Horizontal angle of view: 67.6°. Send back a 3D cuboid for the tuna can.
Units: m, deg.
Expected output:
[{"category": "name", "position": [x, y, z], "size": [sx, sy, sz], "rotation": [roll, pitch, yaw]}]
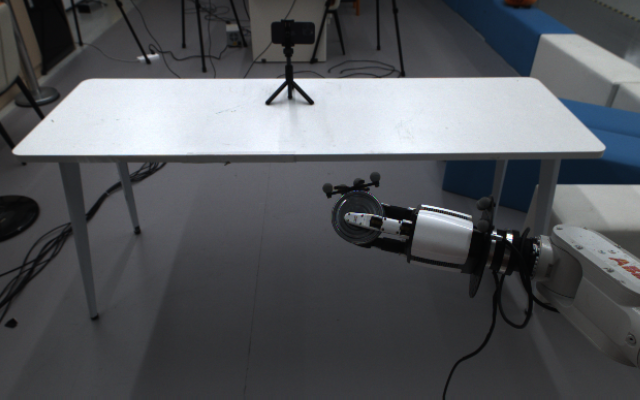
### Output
[{"category": "tuna can", "position": [0.065, 0.034, 0.773], "size": [0.085, 0.085, 0.034], "rotation": [13, -6, 15]}]
